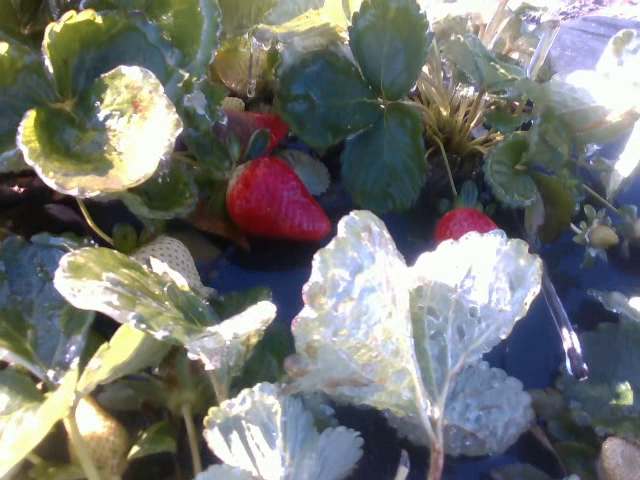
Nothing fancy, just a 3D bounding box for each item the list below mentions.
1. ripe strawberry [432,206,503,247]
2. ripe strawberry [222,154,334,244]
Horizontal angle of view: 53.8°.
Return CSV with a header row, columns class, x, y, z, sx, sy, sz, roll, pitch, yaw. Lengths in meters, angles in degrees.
class,x,y,z,sx,sy,sz,roll,pitch,yaw
ripe strawberry,0.075,0.003,0.309,0.039,0.047,0.040,28,-42,-9
ripe strawberry,-0.016,-0.018,0.296,0.056,0.044,0.040,37,-32,-3
